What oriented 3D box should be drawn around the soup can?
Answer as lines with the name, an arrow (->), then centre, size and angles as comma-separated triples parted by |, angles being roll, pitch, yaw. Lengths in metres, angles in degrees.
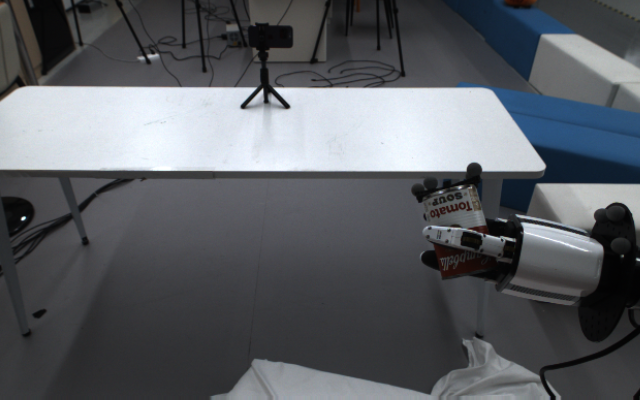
soup can -> 0.171, 0.037, 0.585 | 0.067, 0.067, 0.101 | -11, 80, -19
